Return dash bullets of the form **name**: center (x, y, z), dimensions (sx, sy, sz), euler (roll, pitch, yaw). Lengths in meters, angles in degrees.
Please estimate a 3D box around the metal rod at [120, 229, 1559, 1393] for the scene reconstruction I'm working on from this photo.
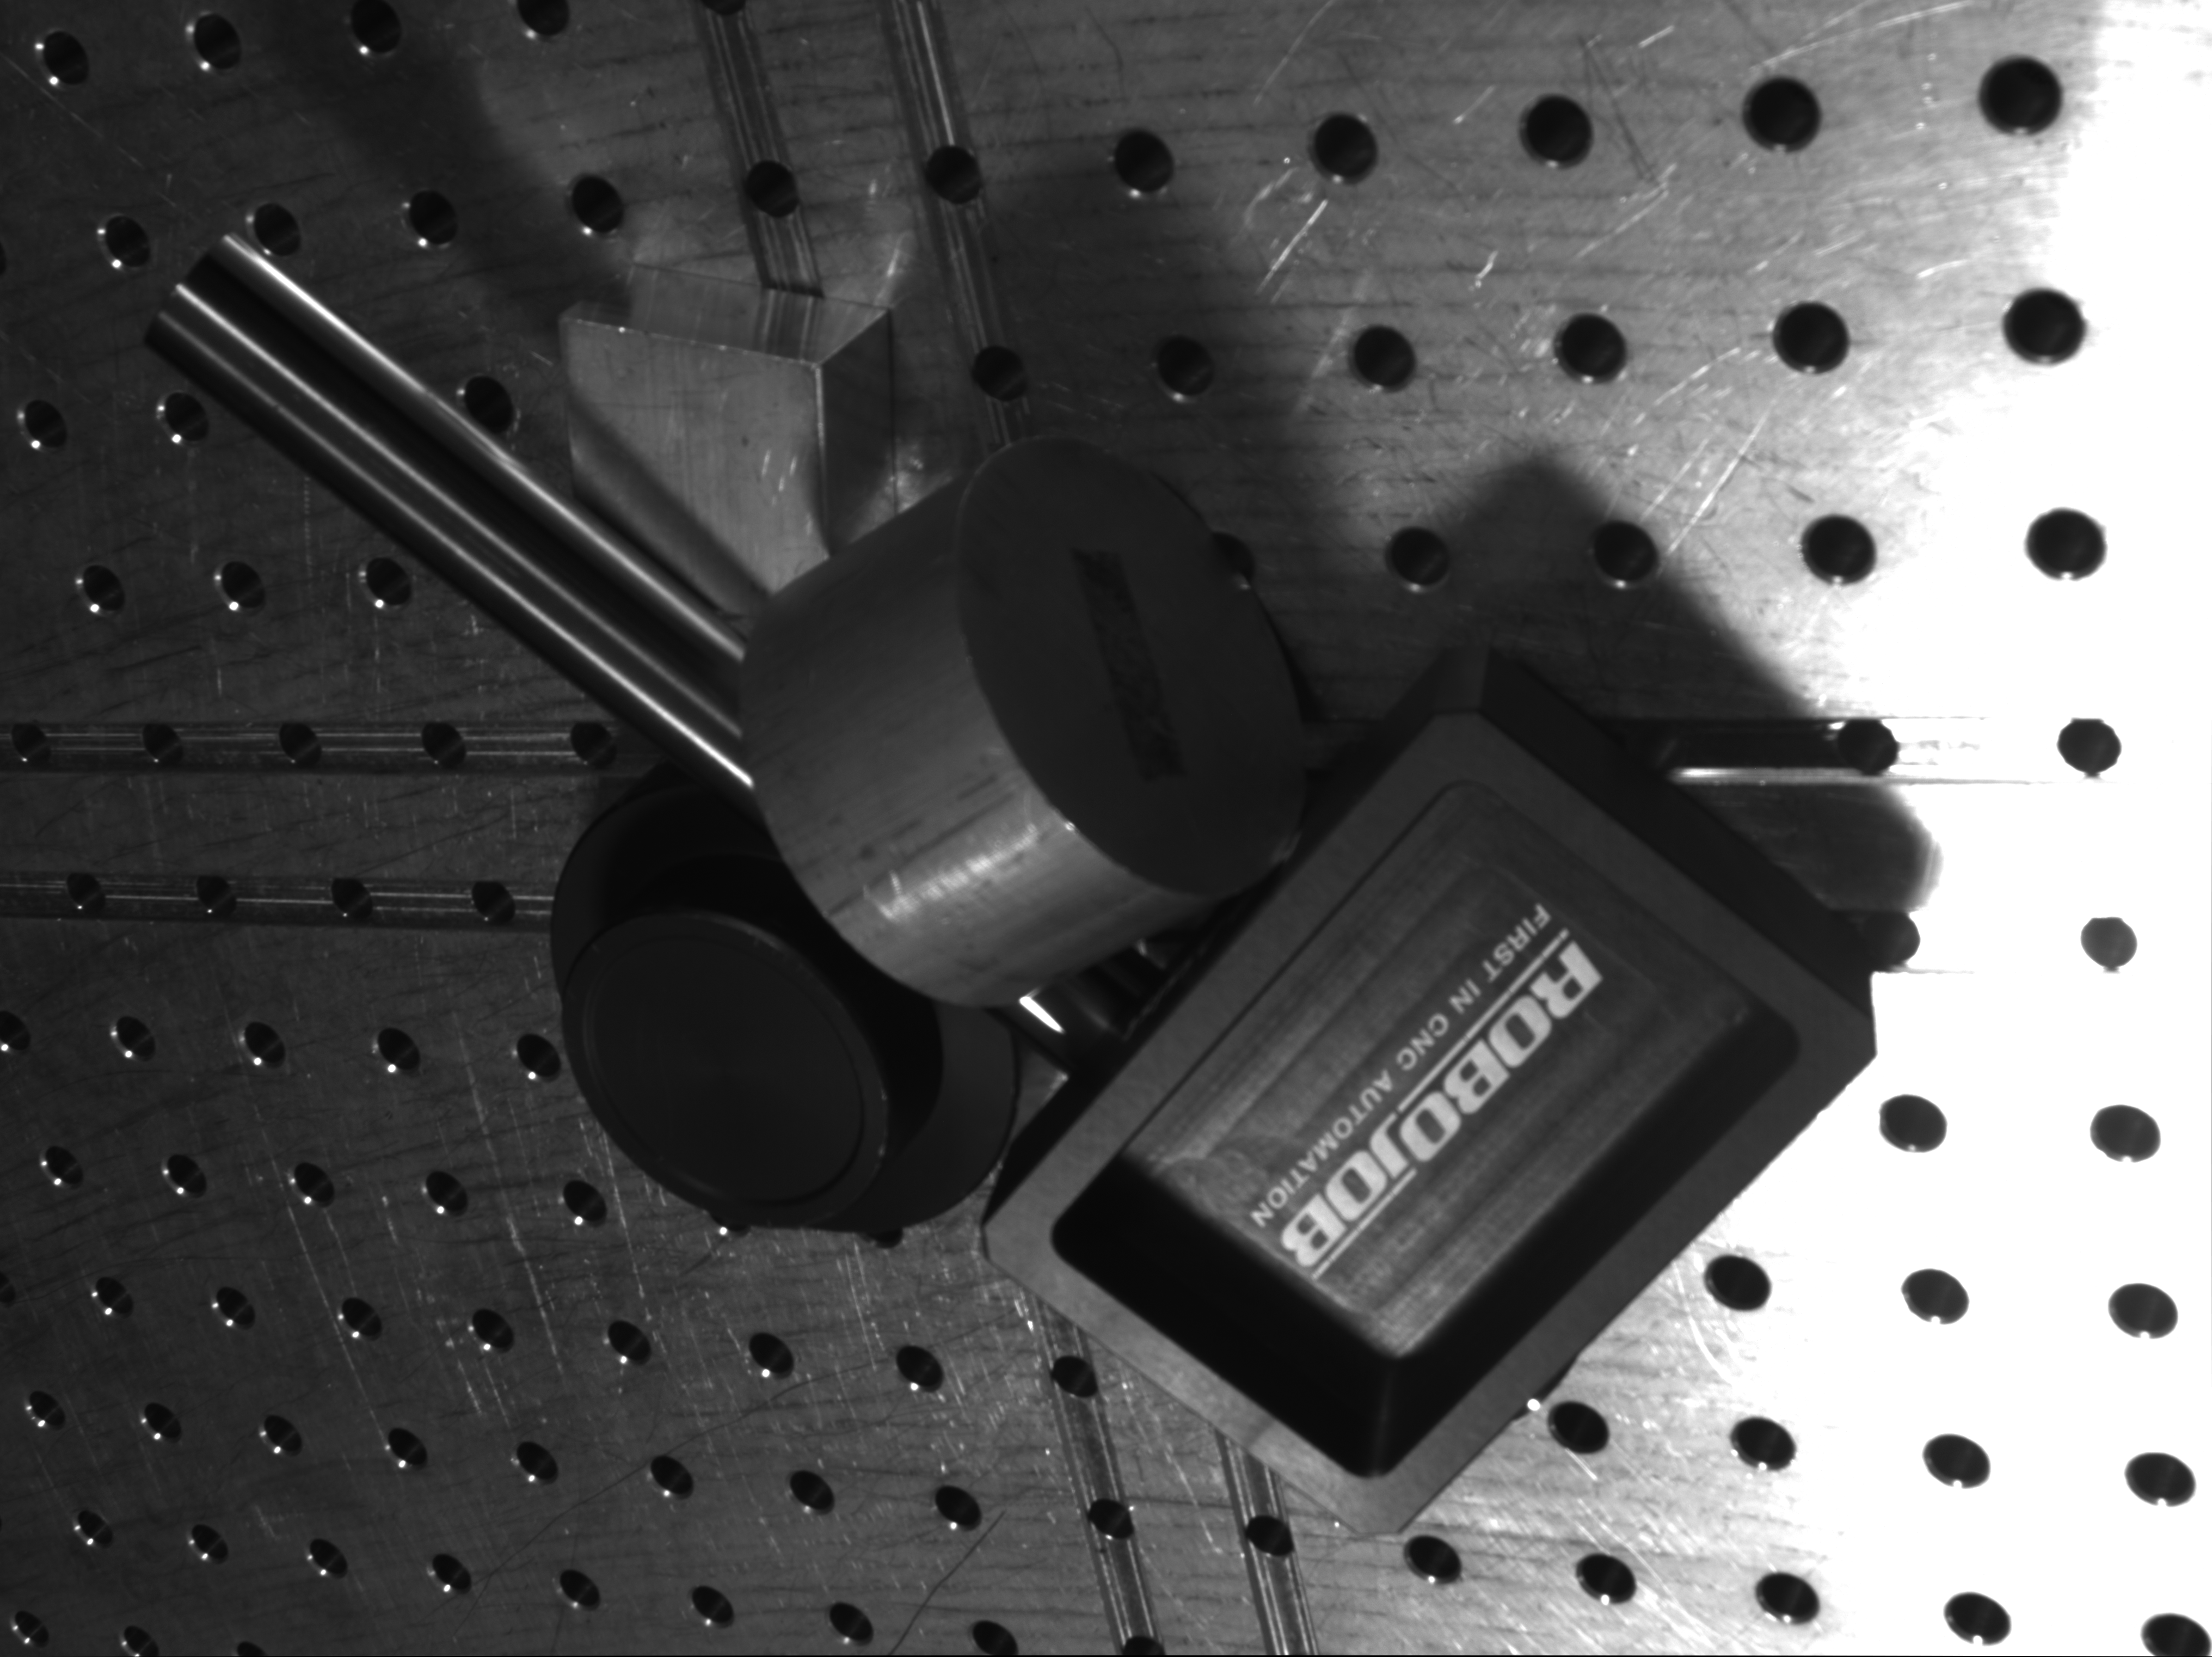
- **metal rod**: center (-0.040, 0.001, 0.633), dimensions (0.300, 0.025, 0.025), euler (38, 128, -9)

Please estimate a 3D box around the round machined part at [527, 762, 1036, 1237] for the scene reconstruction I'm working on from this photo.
- **round machined part**: center (-0.065, 0.035, 0.676), dimensions (0.098, 0.042, 0.098), euler (12, 123, 20)

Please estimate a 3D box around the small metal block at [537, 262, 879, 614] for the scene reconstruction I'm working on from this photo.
- **small metal block**: center (-0.067, -0.066, 0.629), dimensions (0.050, 0.025, 0.050), euler (12, 123, 20)

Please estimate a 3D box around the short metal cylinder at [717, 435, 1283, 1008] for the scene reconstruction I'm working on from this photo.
- **short metal cylinder**: center (-0.016, -0.017, 0.597), dimensions (0.050, 0.080, 0.080), euler (-27, 104, 36)

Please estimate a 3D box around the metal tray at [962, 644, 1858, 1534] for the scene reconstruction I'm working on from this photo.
- **metal tray**: center (0.049, 0.045, 0.607), dimensions (0.090, 0.030, 0.130), euler (37, 113, -7)
